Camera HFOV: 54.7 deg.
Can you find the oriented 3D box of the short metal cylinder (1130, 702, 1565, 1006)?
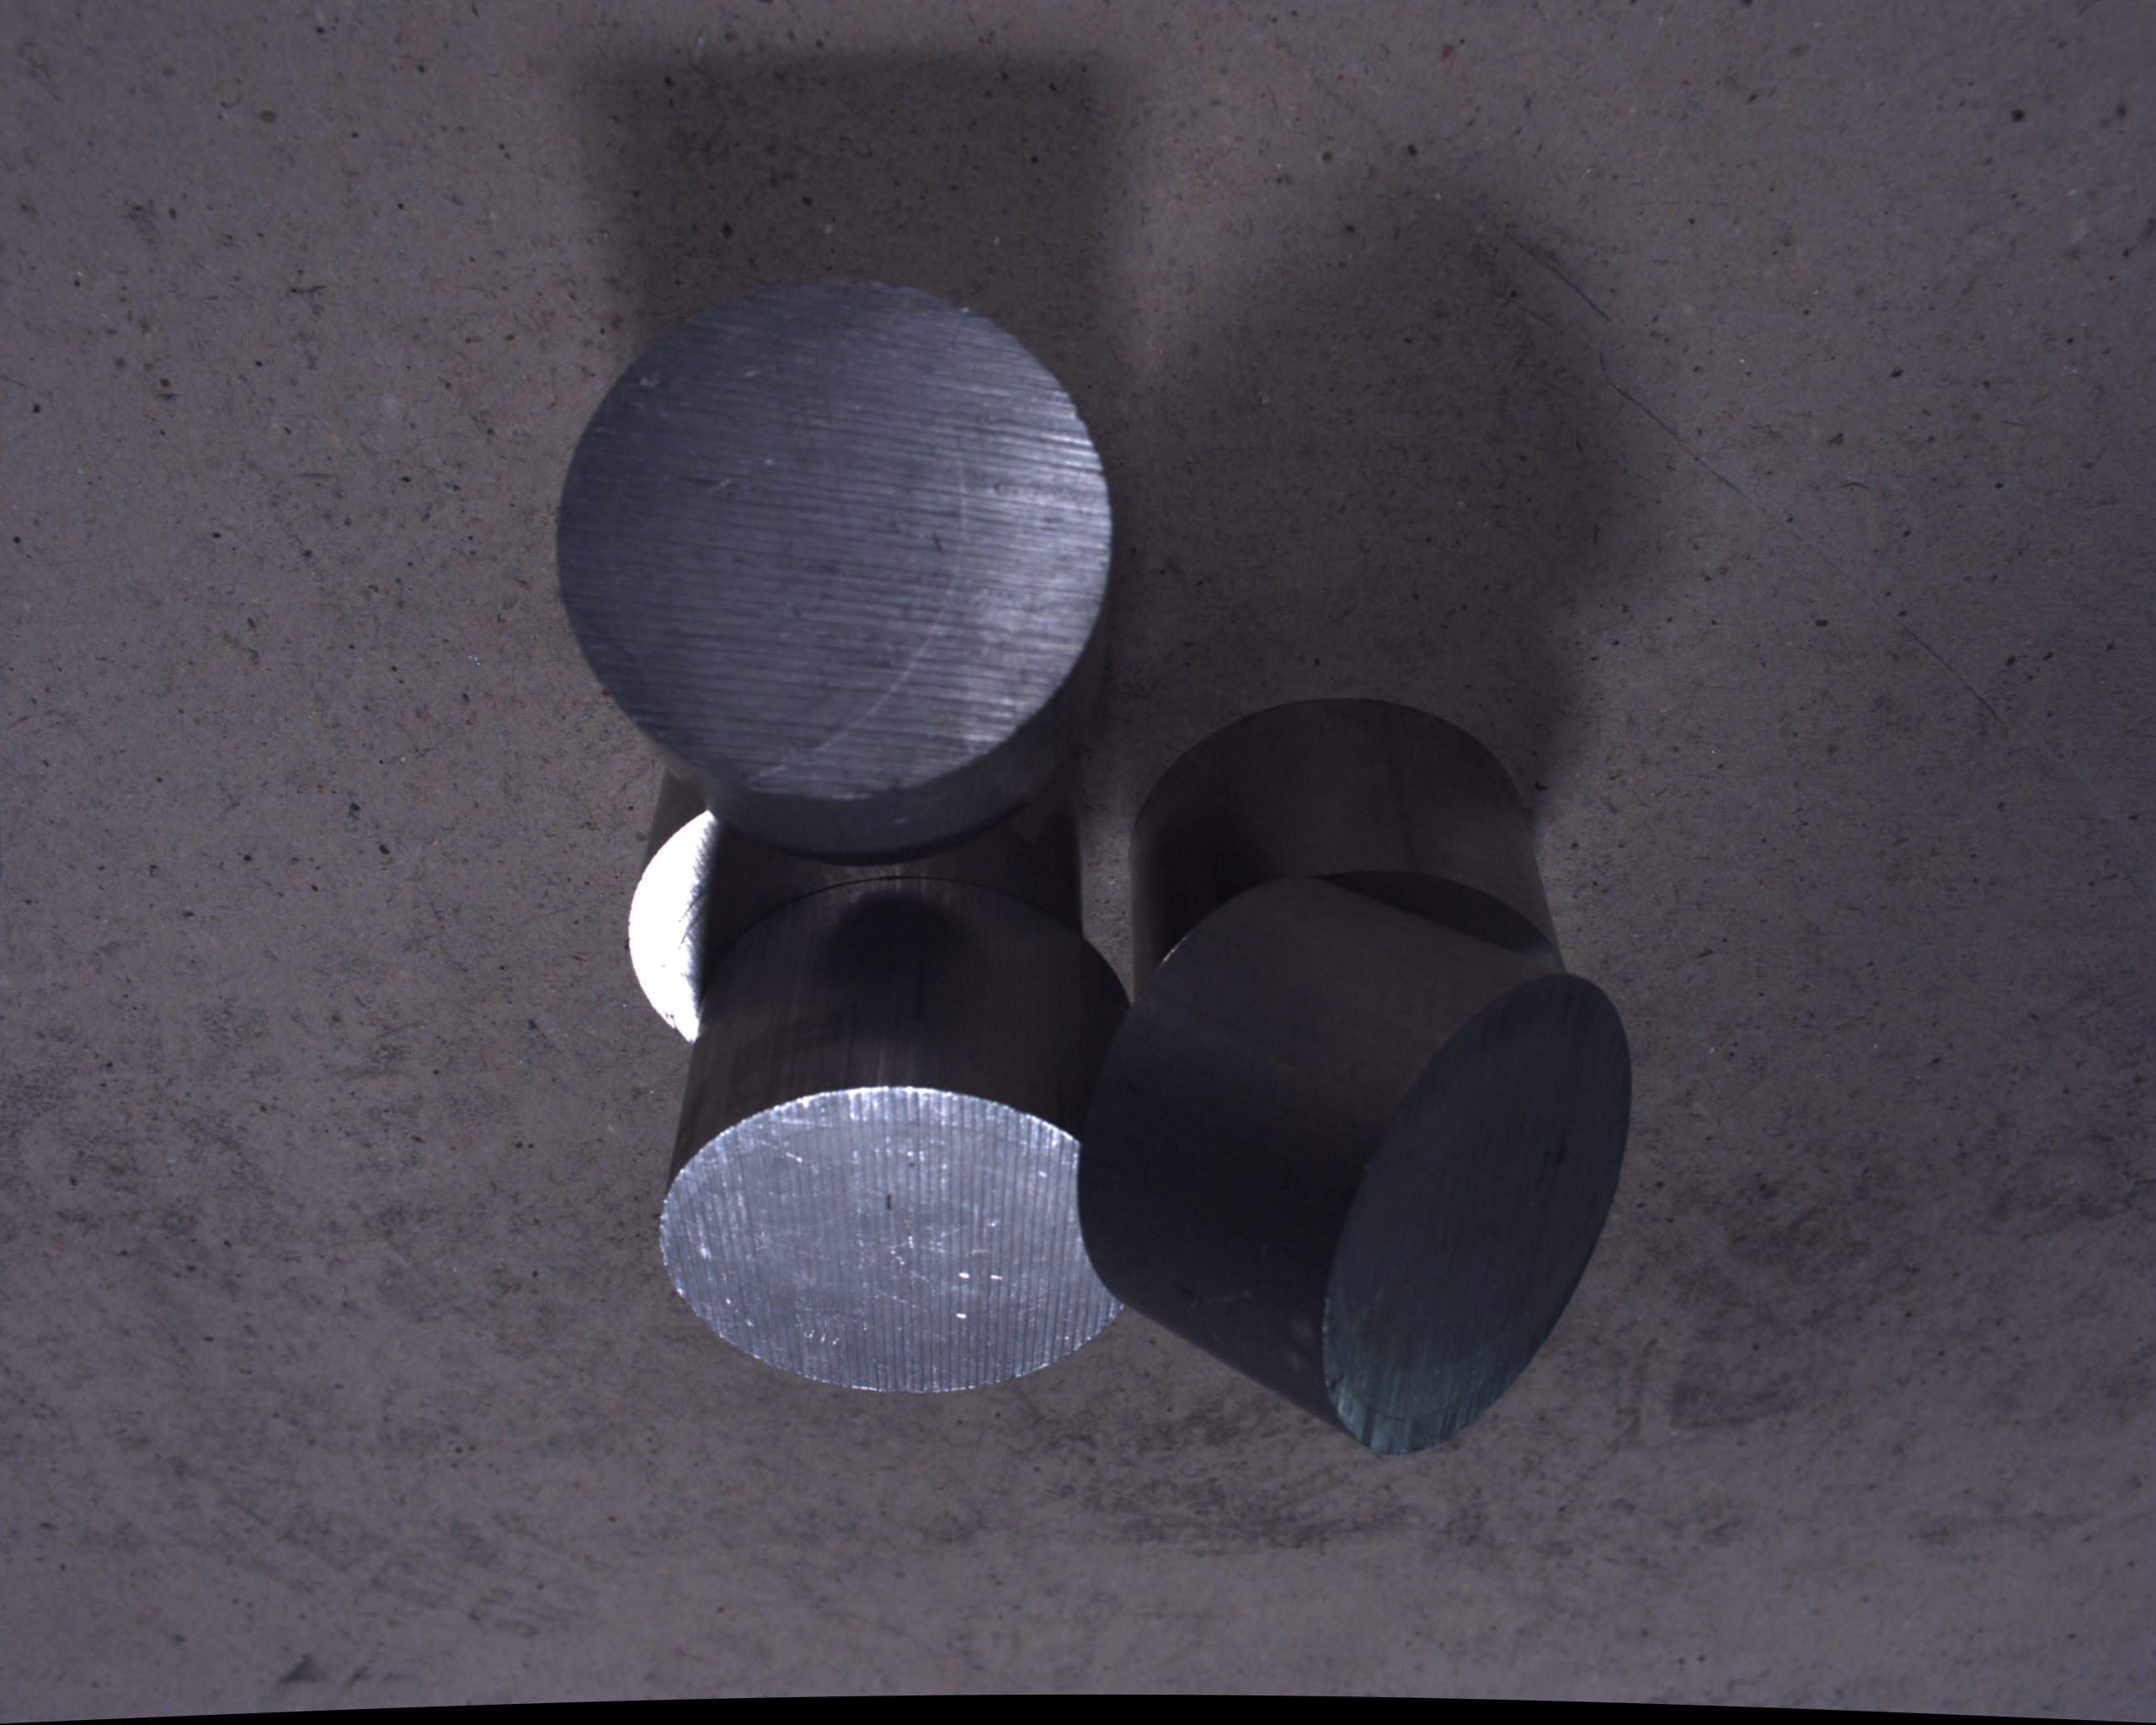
[{"bbox_3d":[0.051,0.016,0.406,0.081,0.050,0.079,0,130,0],"label":"short metal cylinder"}]

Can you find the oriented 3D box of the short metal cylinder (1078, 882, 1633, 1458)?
[{"bbox_3d":[0.046,0.048,0.339,0.050,0.080,0.080,21,145,41],"label":"short metal cylinder"}]

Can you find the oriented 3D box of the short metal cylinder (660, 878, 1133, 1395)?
[{"bbox_3d":[-0.029,0.049,0.367,0.081,0.050,0.079,0,130,0],"label":"short metal cylinder"}]

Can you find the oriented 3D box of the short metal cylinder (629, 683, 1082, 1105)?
[{"bbox_3d":[-0.040,0.000,0.391,0.081,0.050,0.079,0,130,0],"label":"short metal cylinder"}]

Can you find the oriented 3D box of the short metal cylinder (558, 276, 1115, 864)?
[{"bbox_3d":[-0.035,-0.043,0.327,0.081,0.080,0.050,0,169,-1],"label":"short metal cylinder"}]
